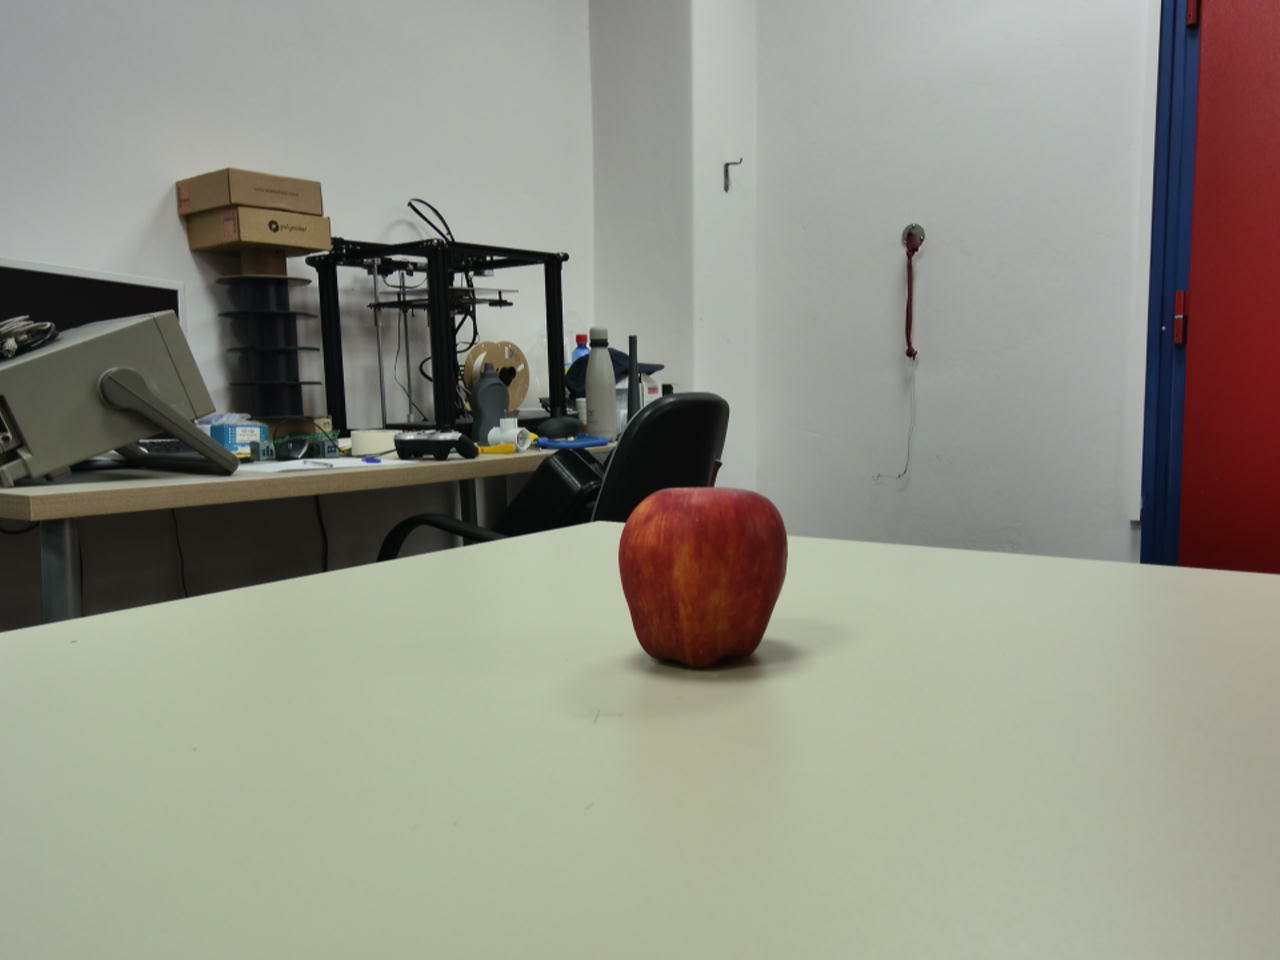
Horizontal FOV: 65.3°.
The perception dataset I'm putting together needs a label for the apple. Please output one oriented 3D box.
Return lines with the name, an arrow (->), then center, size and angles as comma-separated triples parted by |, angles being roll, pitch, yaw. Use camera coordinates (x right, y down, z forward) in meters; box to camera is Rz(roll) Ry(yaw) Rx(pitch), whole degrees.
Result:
apple -> 0.031, 0.037, 0.463 | 0.083, 0.090, 0.083 | 1, 3, 0
